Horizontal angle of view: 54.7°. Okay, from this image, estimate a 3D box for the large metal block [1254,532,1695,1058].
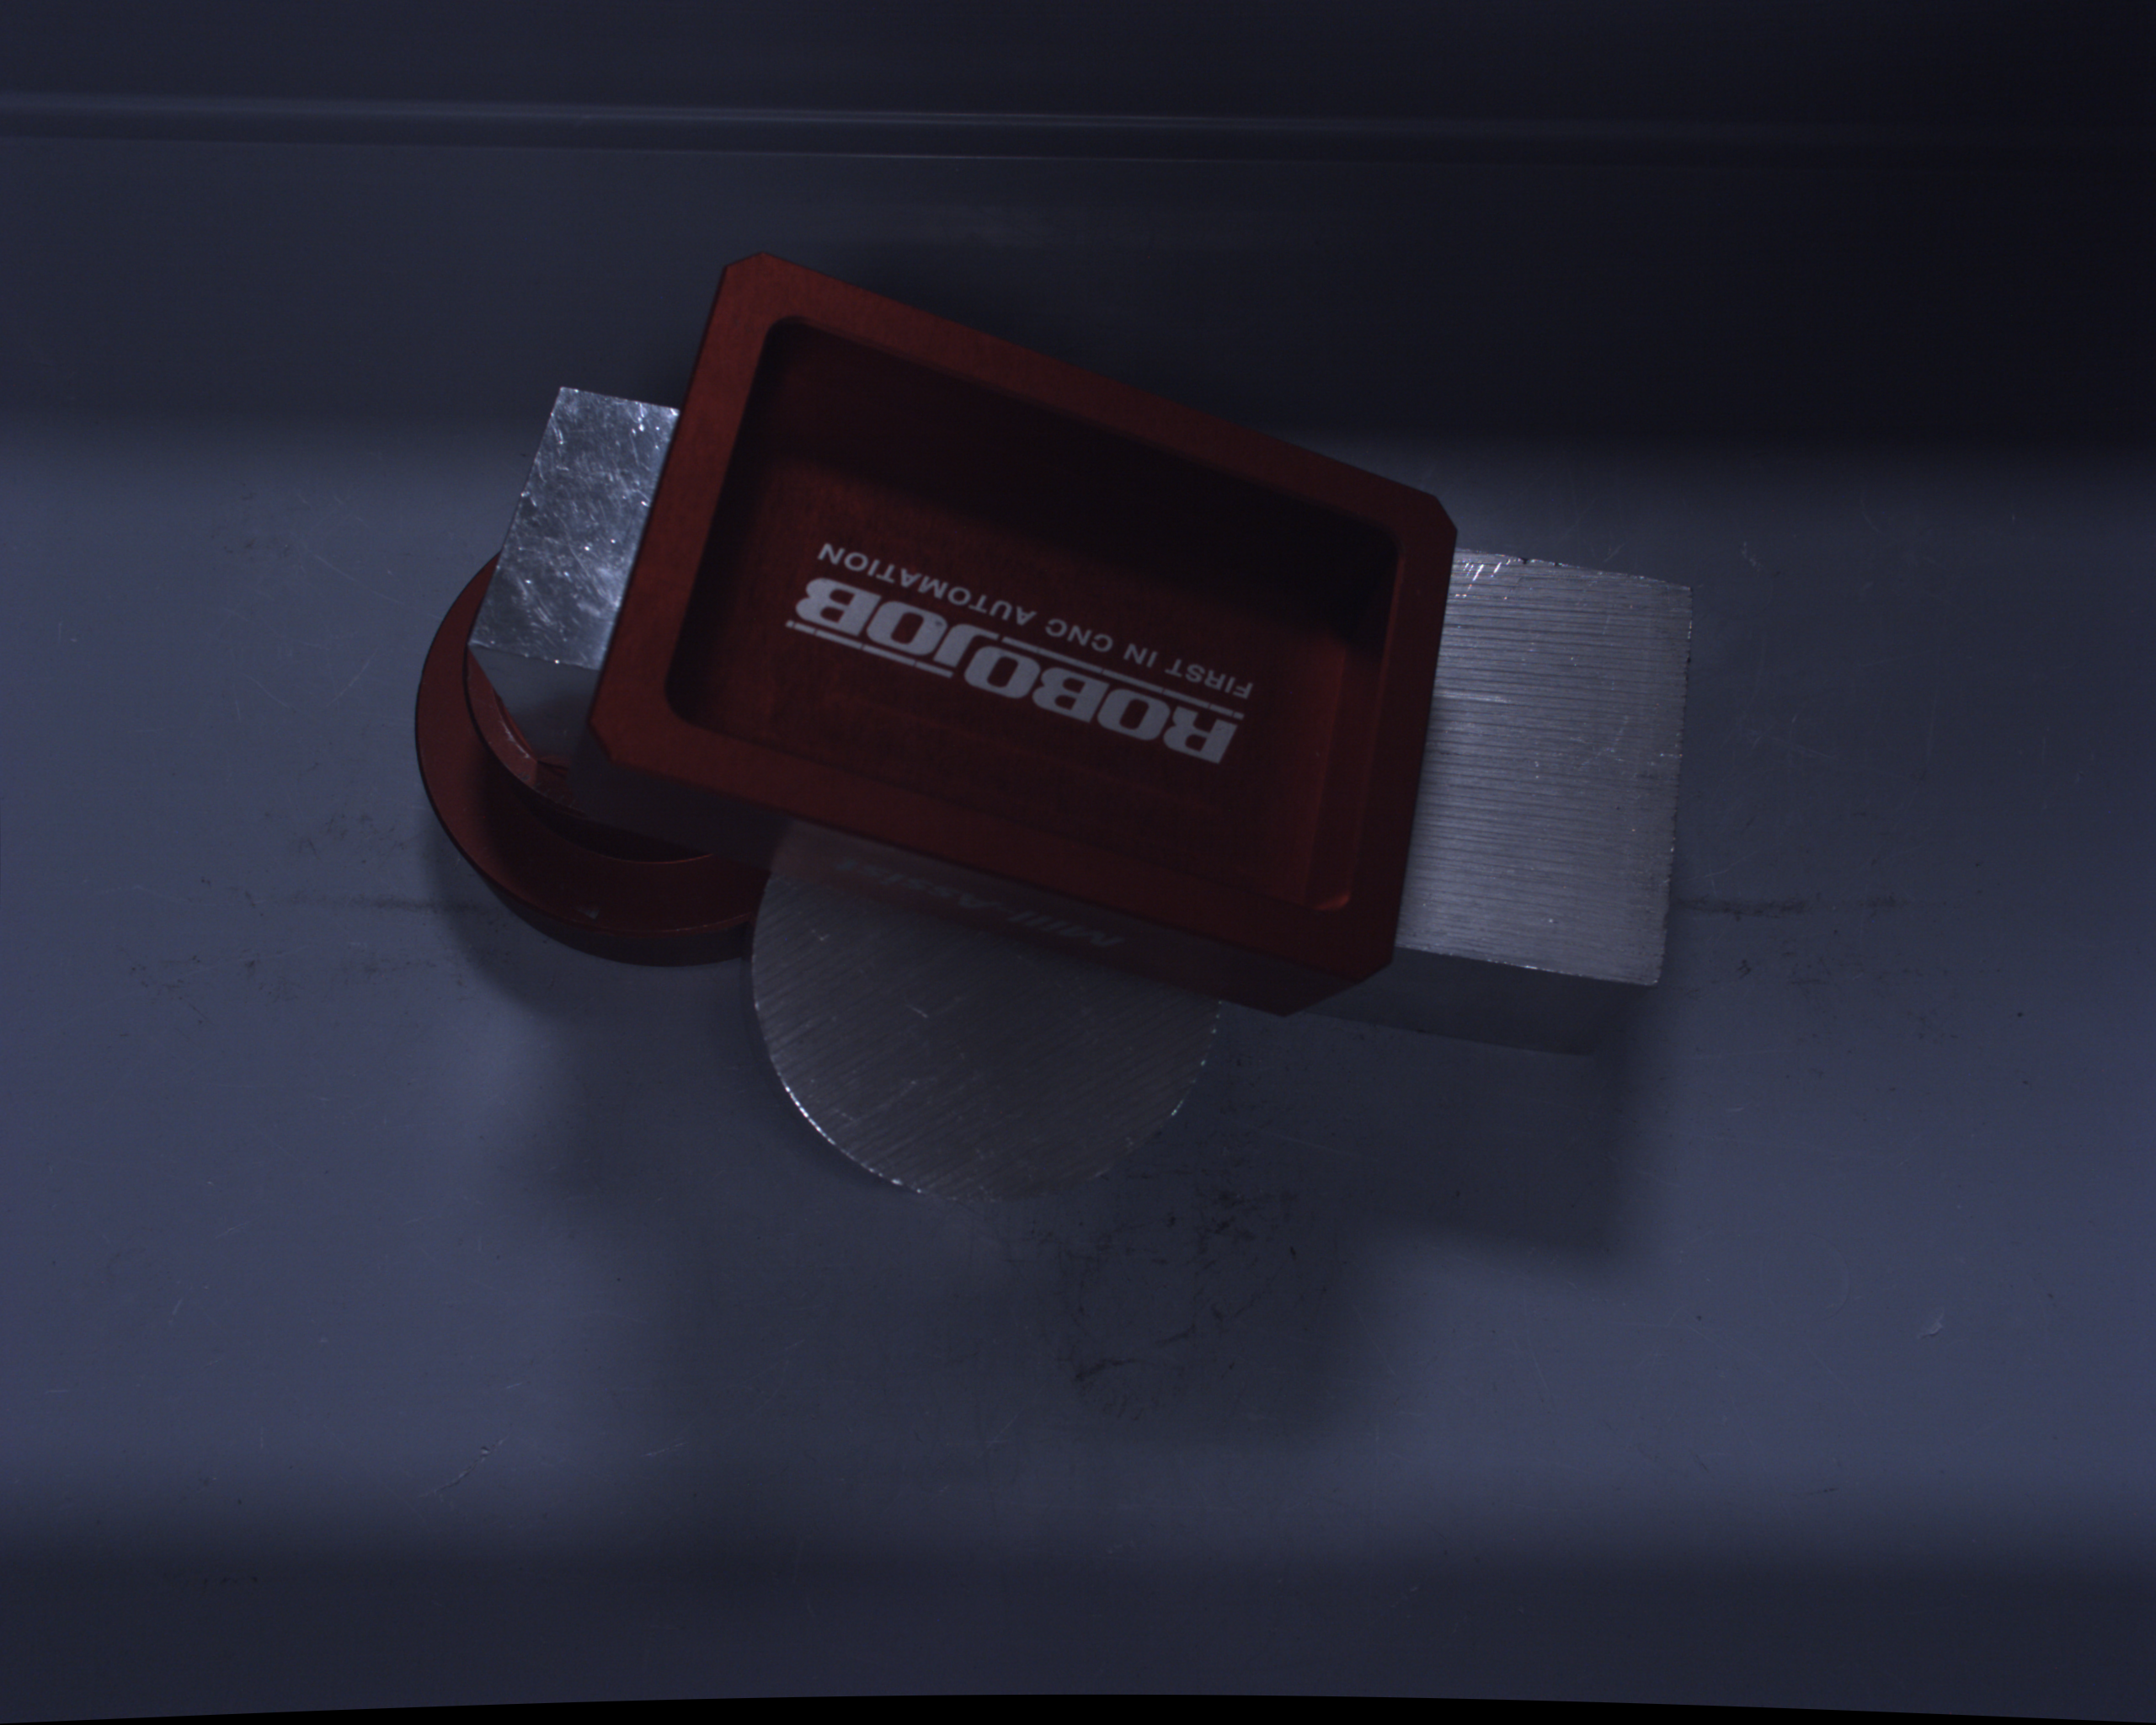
[{"bbox_3d":[0.068,-0.013,0.399,0.080,0.050,0.080,9,70,3],"label":"large metal block"}]

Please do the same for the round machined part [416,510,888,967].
[{"bbox_3d":[-0.081,-0.032,0.409,0.099,0.042,0.098,0,70,-1],"label":"round machined part"}]

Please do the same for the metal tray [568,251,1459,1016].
[{"bbox_3d":[-0.007,-0.035,0.343,0.131,0.030,0.090,17,70,-15],"label":"metal tray"}]

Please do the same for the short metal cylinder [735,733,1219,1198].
[{"bbox_3d":[-0.020,0.019,0.375,0.081,0.050,0.080,1,83,-12],"label":"short metal cylinder"}]

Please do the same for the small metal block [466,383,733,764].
[{"bbox_3d":[-0.081,-0.047,0.366,0.025,0.050,0.050,12,71,4],"label":"small metal block"}]
